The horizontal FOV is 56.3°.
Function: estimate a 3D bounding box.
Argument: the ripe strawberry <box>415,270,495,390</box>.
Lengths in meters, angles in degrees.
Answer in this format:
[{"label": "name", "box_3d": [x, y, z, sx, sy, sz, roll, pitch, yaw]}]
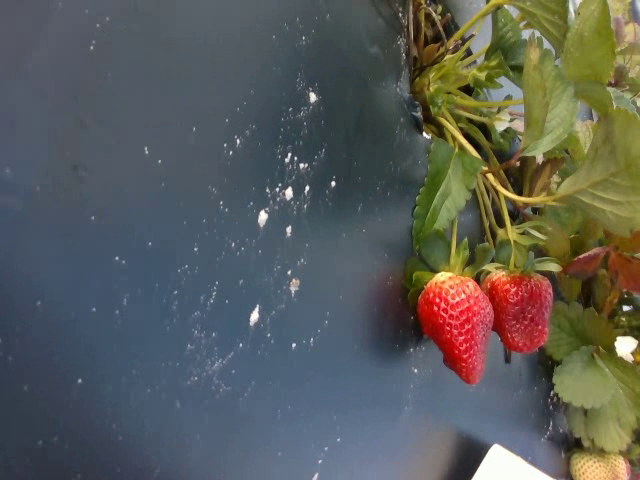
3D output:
[{"label": "ripe strawberry", "box_3d": [0.072, 0.045, 0.298, 0.050, 0.061, 0.045, 24, -35, -39]}]

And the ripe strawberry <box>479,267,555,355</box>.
[{"label": "ripe strawberry", "box_3d": [0.120, 0.041, 0.344, 0.042, 0.053, 0.034, 17, -27, -38]}]
